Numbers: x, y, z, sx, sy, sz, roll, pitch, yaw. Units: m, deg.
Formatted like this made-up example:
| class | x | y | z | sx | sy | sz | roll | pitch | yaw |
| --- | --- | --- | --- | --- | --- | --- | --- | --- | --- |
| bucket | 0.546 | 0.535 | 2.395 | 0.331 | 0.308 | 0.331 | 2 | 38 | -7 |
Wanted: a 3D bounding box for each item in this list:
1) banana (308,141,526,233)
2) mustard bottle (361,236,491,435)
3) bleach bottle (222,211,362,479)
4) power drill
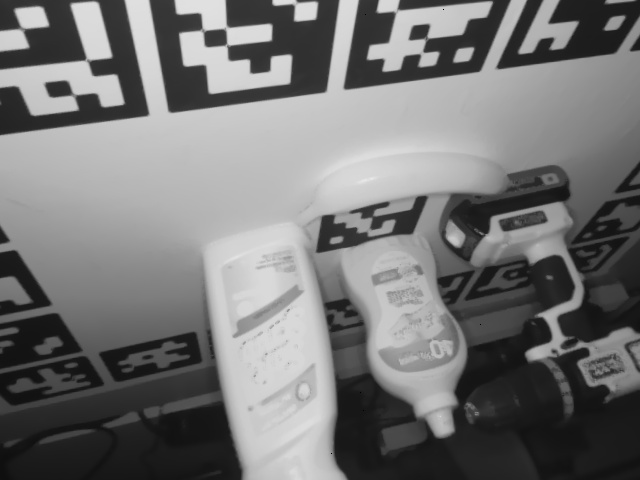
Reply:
| class | x | y | z | sx | sy | sz | roll | pitch | yaw |
| --- | --- | --- | --- | --- | --- | --- | --- | --- | --- |
| banana | 0.086 | -0.050 | 0.577 | 0.199 | 0.039 | 0.073 | -11 | 142 | -13 |
| mustard bottle | 0.107 | 0.089 | 0.654 | 0.097 | 0.192 | 0.058 | -10 | 146 | -9 |
| bleach bottle | -0.014 | 0.098 | 0.573 | 0.103 | 0.251 | 0.067 | -15 | 146 | -2 |
| power drill | 0.211 | 0.050 | 0.612 | 0.185 | 0.187 | 0.057 | -10 | 153 | -5 |
